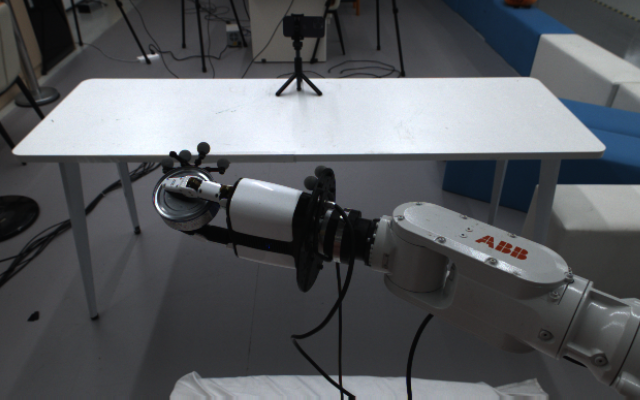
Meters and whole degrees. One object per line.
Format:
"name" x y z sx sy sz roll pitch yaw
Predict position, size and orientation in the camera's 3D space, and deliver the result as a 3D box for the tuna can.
"tuna can" -0.175 0.000 0.654 0.085 0.034 0.085 -1 57 2
